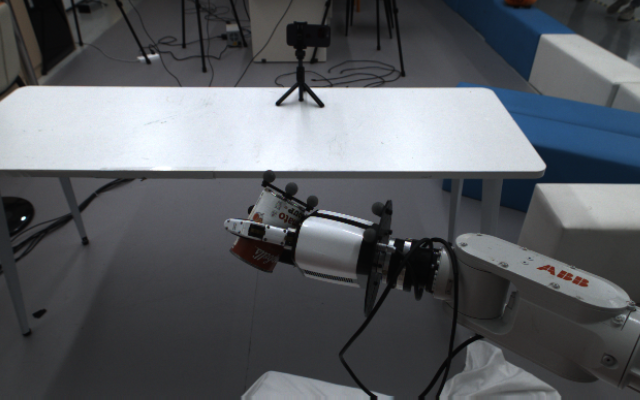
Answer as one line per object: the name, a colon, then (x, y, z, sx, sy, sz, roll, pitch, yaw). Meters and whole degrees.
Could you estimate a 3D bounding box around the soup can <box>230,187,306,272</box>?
soup can: (-0.071, 0.043, 0.675, 0.067, 0.101, 0.067, 28, -3, 2)
